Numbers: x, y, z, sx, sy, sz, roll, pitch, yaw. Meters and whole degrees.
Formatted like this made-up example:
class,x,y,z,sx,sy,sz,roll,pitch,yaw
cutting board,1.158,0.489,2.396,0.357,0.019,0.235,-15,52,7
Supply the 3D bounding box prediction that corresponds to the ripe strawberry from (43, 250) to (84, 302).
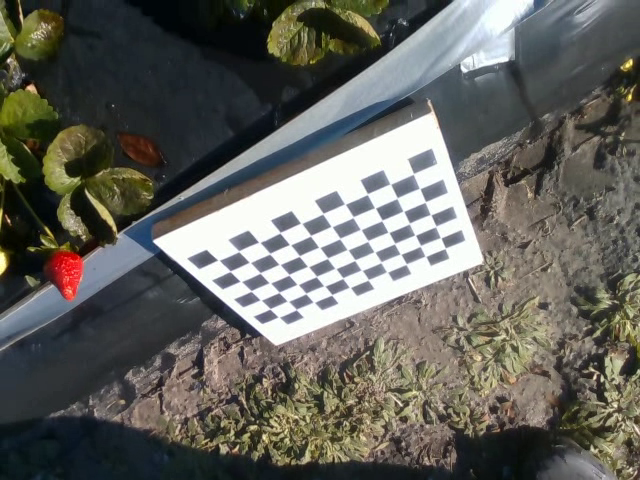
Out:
class,x,y,z,sx,sy,sz,roll,pitch,yaw
ripe strawberry,-0.205,0.030,0.484,0.036,0.046,0.038,-22,-23,15
